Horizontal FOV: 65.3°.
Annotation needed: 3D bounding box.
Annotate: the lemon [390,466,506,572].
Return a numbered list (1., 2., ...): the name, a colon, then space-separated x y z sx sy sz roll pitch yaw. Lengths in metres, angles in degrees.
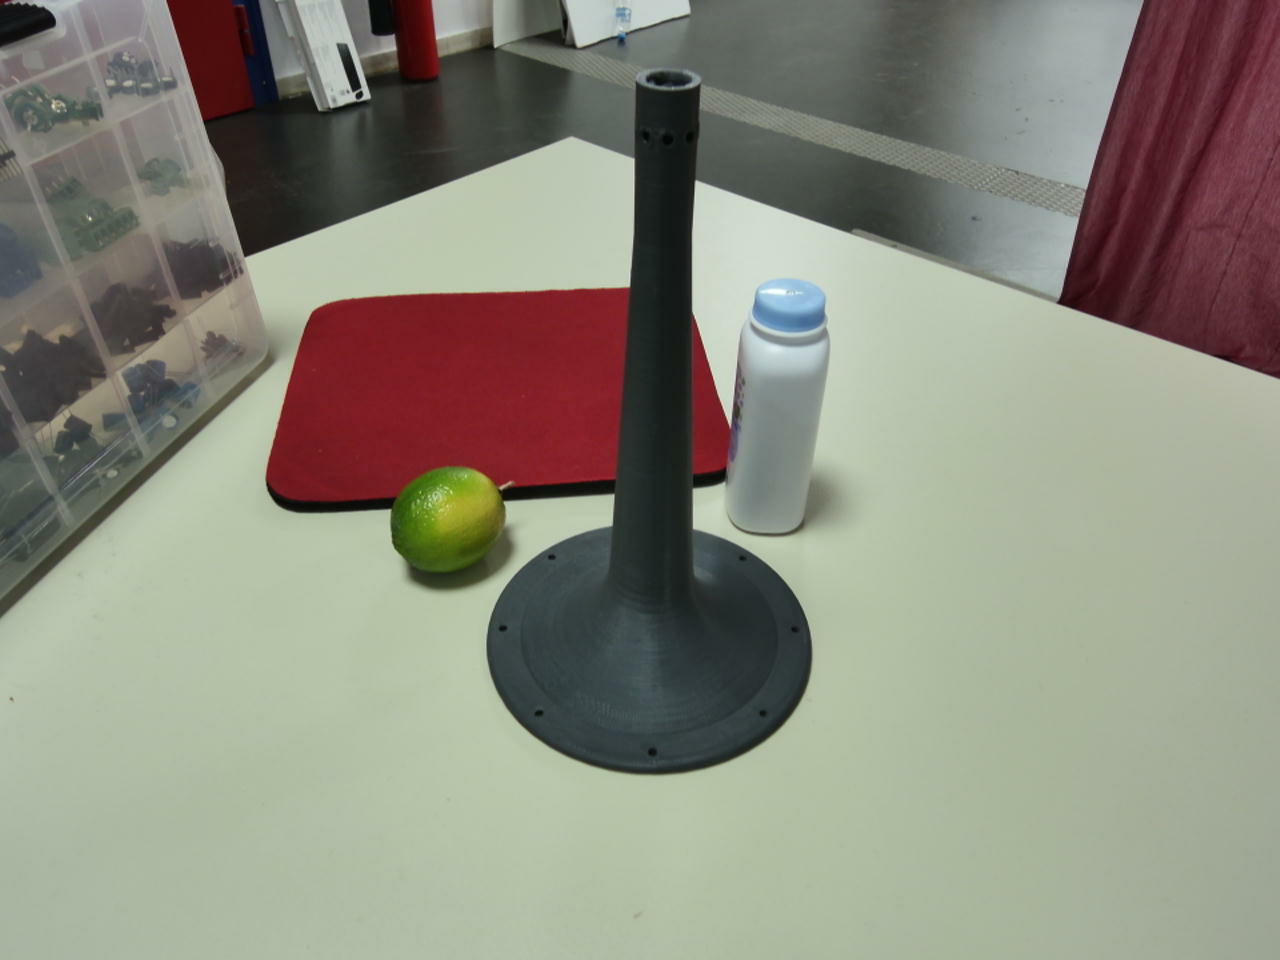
1. lemon: -0.094 0.019 0.491 0.055 0.050 0.054 2 37 0
